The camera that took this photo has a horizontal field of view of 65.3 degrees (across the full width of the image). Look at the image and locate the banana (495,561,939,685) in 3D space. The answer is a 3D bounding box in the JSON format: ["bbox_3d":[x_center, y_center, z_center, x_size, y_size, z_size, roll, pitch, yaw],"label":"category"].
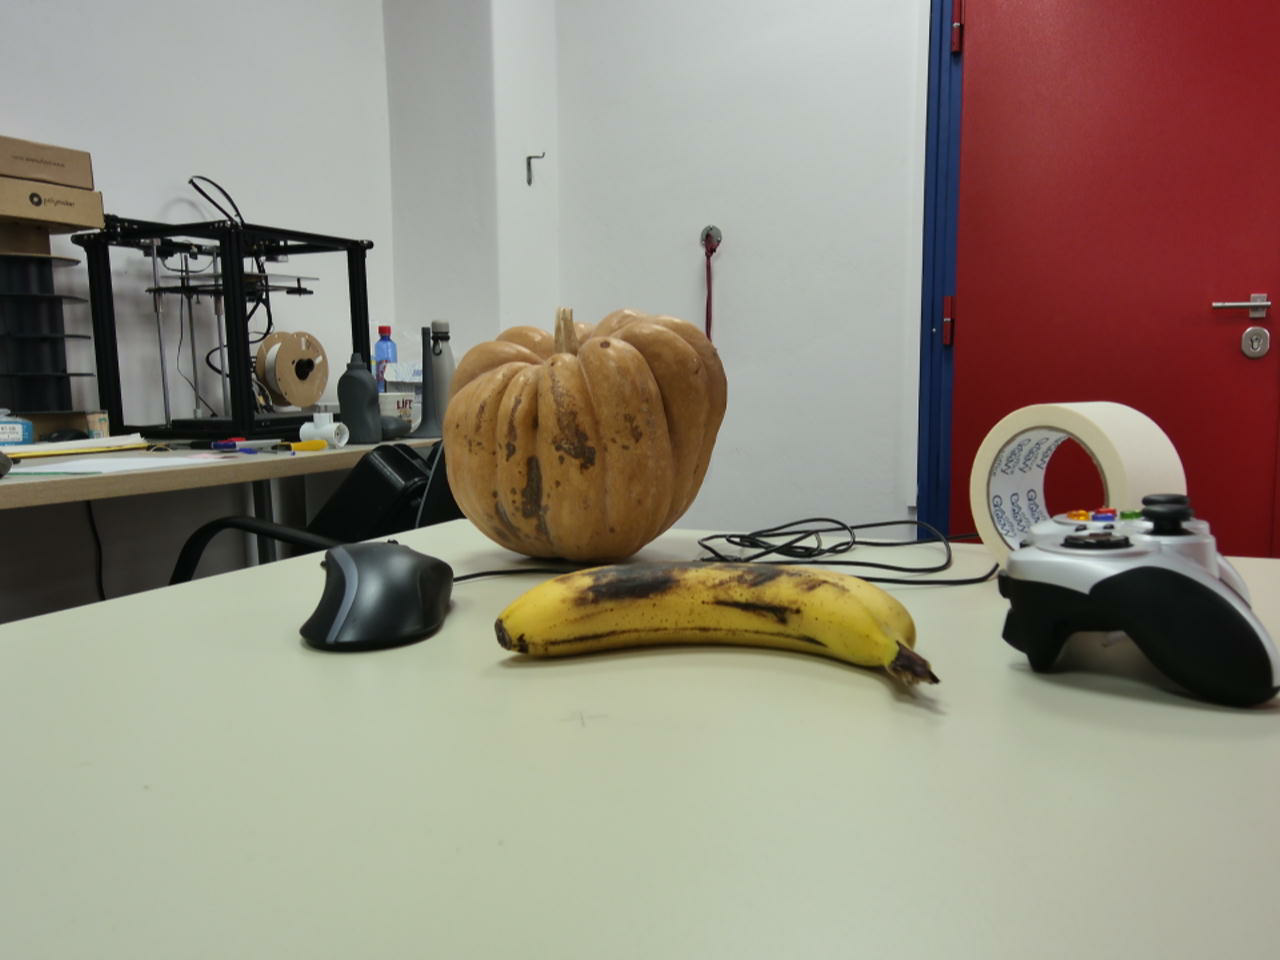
[{"bbox_3d":[0.038,0.060,0.438,0.187,0.039,0.094,2,4,23],"label":"banana"}]
